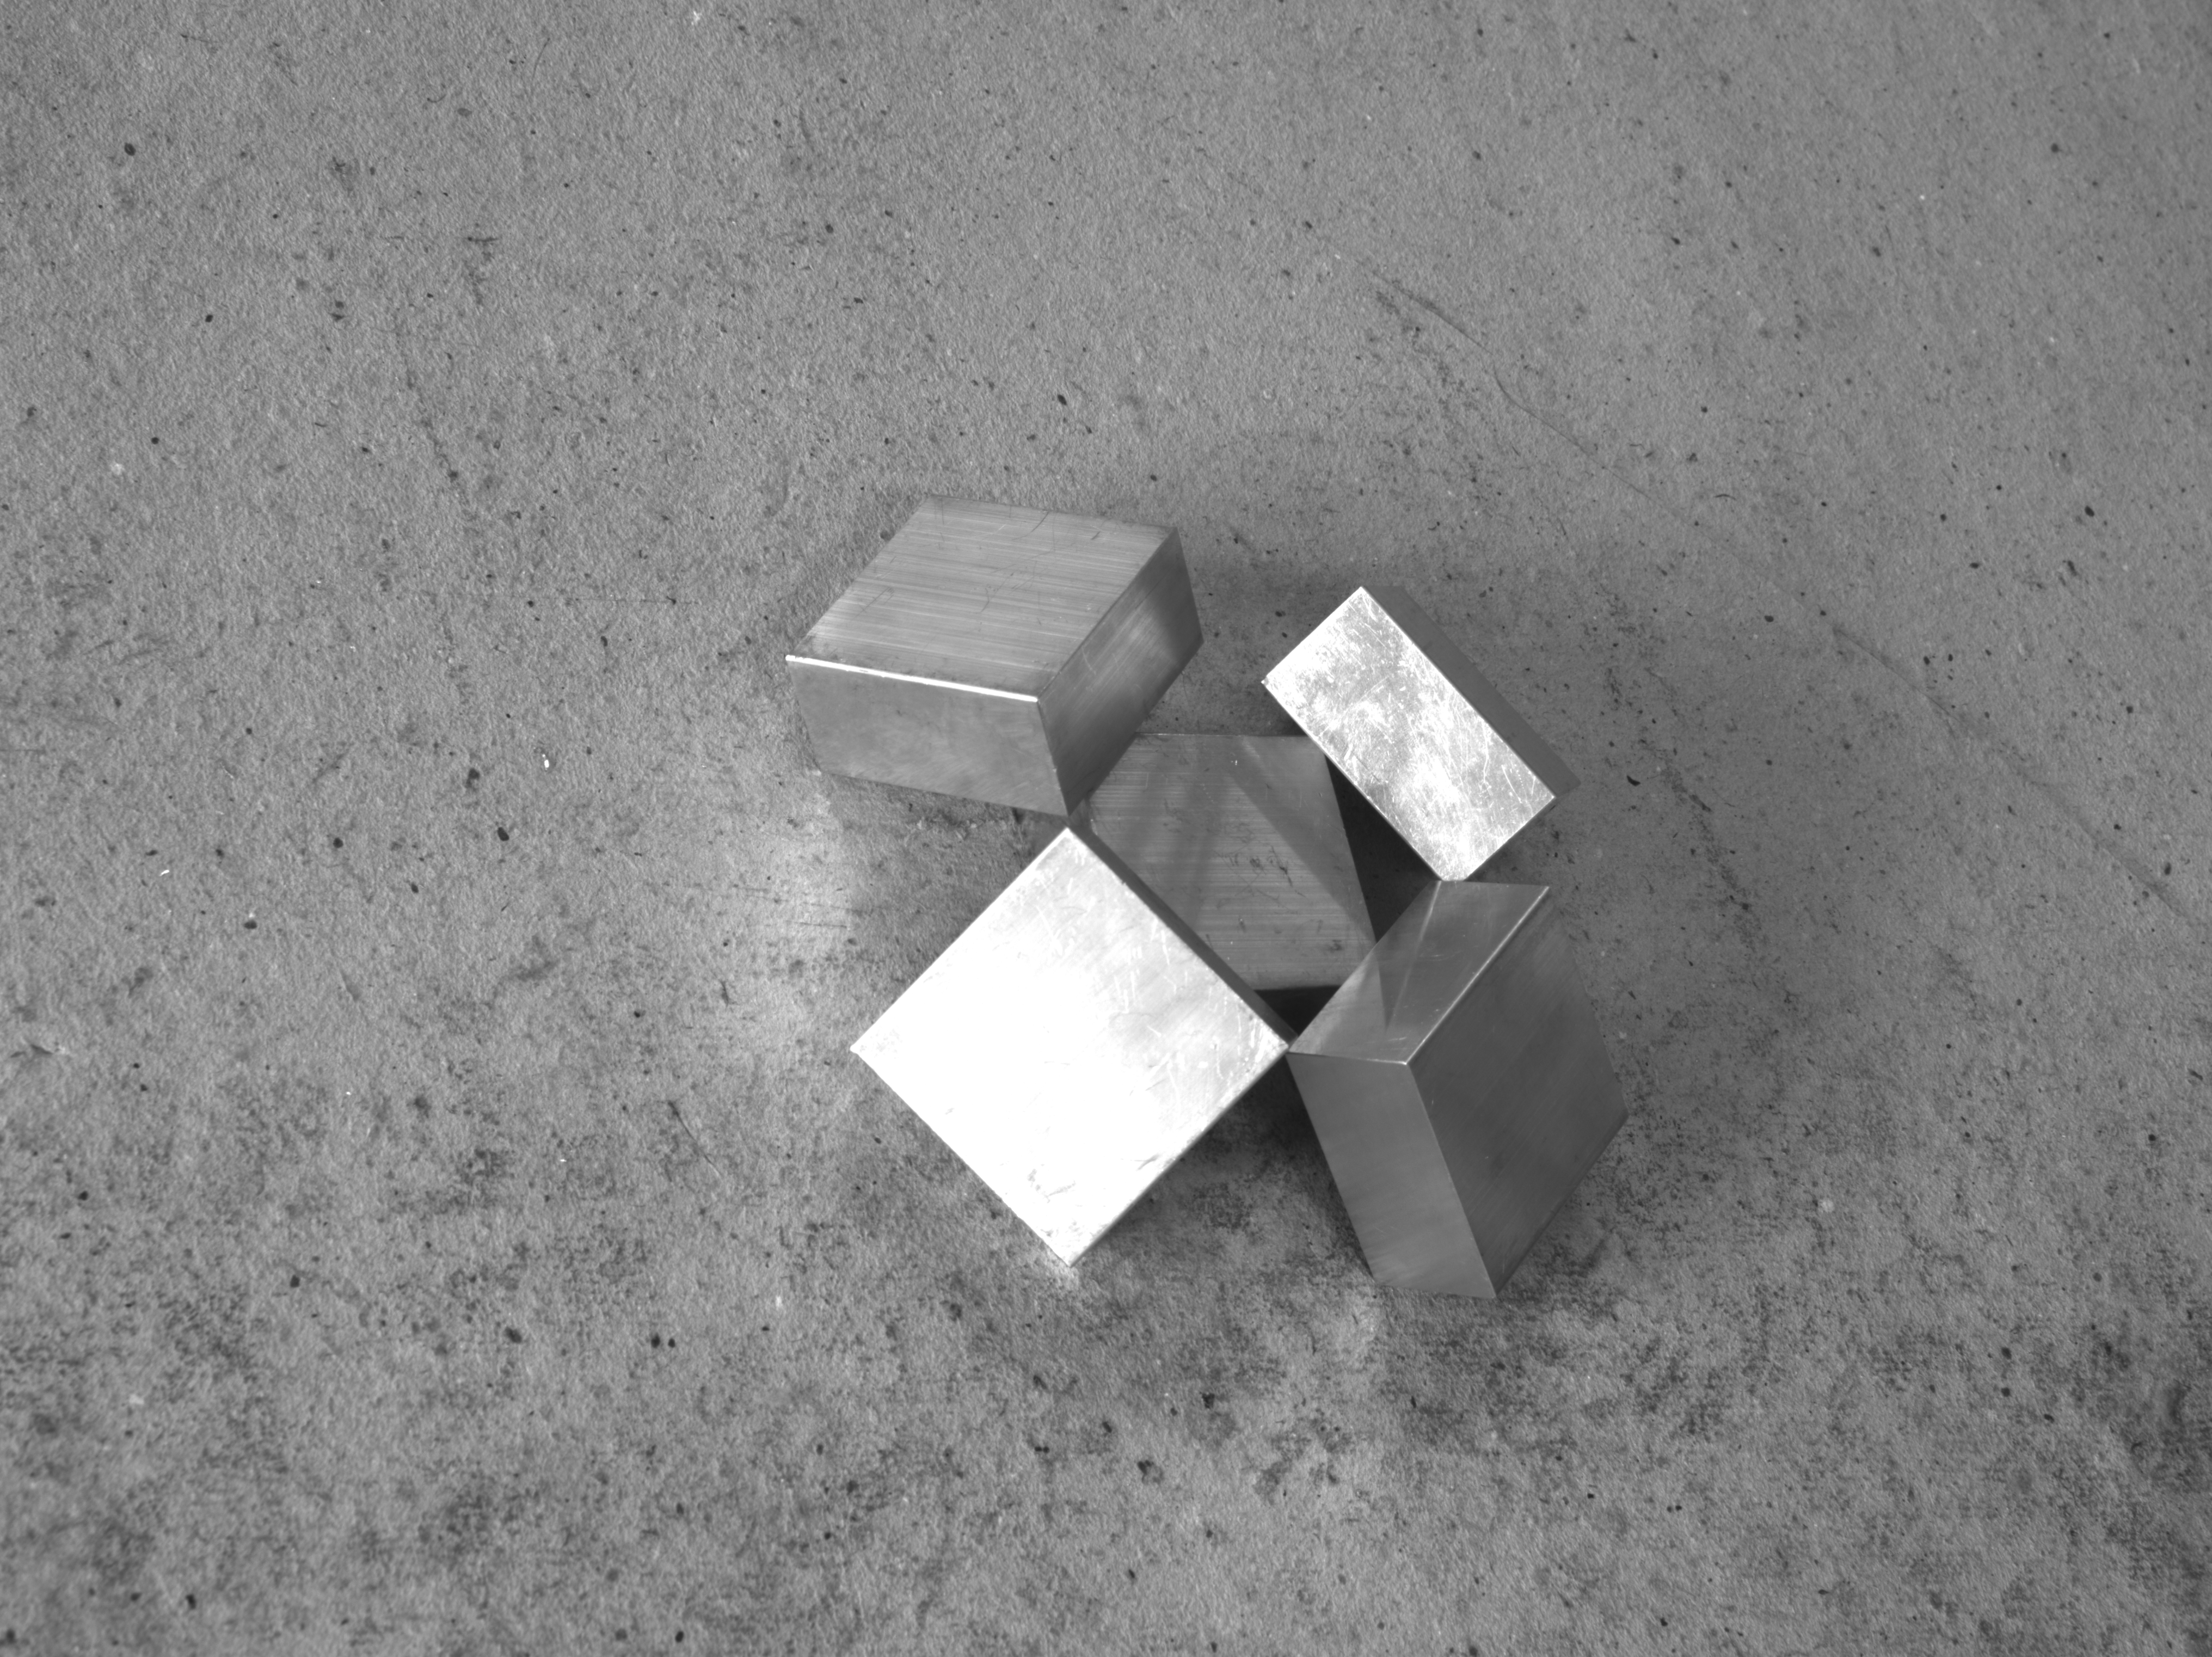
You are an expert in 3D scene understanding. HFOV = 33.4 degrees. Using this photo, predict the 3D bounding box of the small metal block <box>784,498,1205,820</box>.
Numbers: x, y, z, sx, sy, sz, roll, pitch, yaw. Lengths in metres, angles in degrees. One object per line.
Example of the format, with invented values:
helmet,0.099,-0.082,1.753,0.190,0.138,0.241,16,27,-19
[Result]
small metal block,-0.018,-0.030,0.632,0.050,0.025,0.050,10,43,29

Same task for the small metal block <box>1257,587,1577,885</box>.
small metal block,0.057,-0.016,0.665,0.050,0.025,0.050,48,11,5

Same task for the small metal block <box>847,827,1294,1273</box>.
small metal block,-0.005,0.035,0.599,0.050,0.025,0.050,45,95,3

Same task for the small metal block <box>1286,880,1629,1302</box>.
small metal block,0.061,0.044,0.630,0.050,0.025,0.050,-47,126,-39

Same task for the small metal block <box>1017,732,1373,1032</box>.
small metal block,0.016,0.011,0.642,0.050,0.025,0.050,1,61,-29
